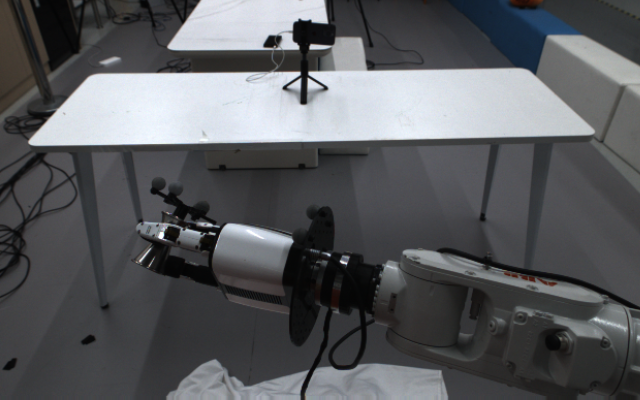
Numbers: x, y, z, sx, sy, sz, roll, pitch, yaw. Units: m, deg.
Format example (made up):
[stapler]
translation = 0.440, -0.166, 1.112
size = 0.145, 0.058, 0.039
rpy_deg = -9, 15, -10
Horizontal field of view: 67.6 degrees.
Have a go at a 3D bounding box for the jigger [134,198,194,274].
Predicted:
[jigger]
translation = -0.190, 0.050, 0.582
size = 0.043, 0.043, 0.071
rpy_deg = 20, 74, 24
